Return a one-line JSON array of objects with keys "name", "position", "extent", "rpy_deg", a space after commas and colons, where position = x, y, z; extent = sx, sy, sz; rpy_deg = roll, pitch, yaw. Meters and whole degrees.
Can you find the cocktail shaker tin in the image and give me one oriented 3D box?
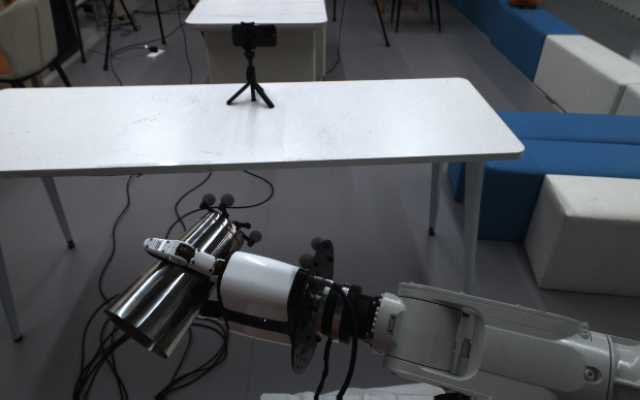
[{"name": "cocktail shaker tin", "position": [-0.169, 0.093, 0.599], "extent": [0.093, 0.093, 0.170], "rpy_deg": [19, 54, 23]}]
